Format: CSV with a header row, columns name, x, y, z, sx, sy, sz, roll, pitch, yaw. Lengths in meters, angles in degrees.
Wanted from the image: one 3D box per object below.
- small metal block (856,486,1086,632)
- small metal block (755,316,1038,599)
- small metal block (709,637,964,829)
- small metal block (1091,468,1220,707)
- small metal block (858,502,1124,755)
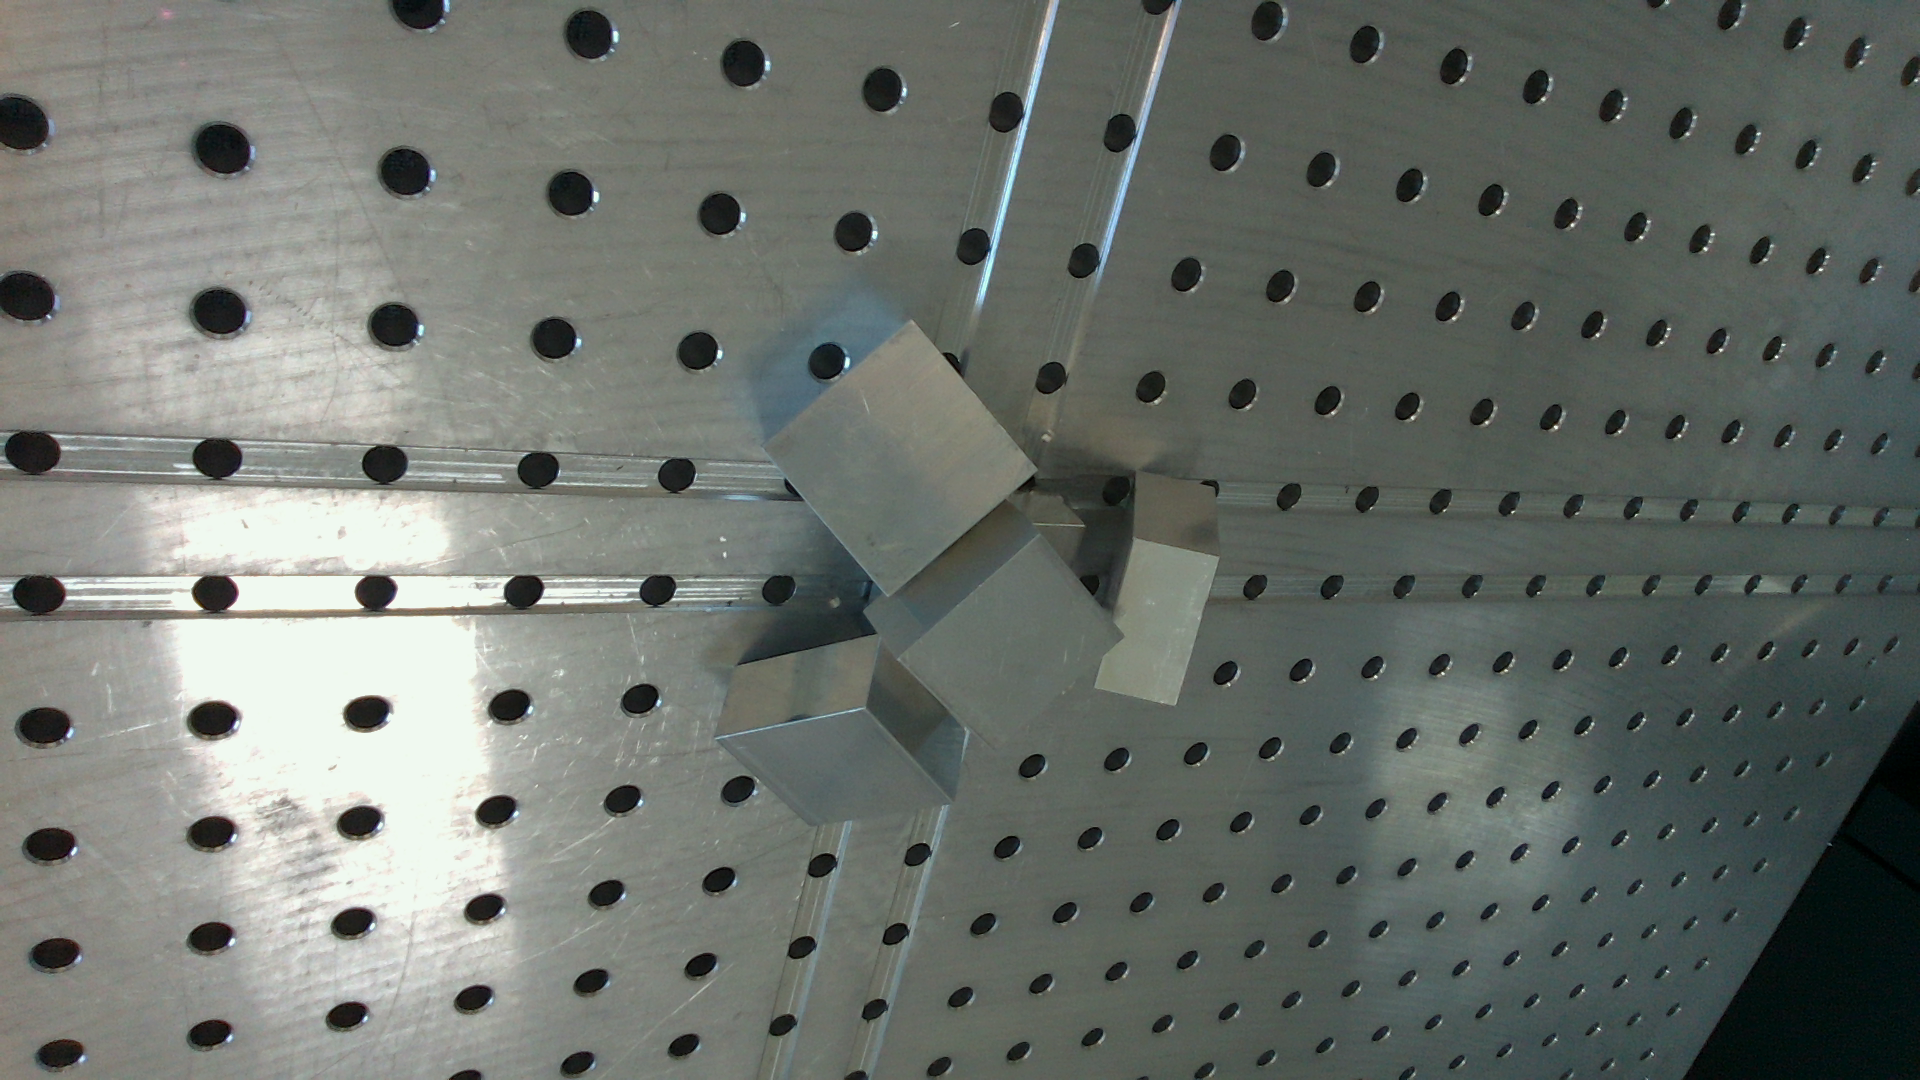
name,x,y,z,sx,sy,sz,roll,pitch,yaw
small metal block,0.003,0.011,0.400,0.050,0.025,0.050,1,120,-29
small metal block,-0.016,-0.021,0.354,0.050,0.025,0.050,-40,94,-1
small metal block,-0.034,0.056,0.391,0.050,0.025,0.050,-14,134,26
small metal block,0.058,0.013,0.412,0.025,0.050,0.050,13,116,2
small metal block,0.009,0.023,0.379,0.050,0.025,0.050,-42,130,0
